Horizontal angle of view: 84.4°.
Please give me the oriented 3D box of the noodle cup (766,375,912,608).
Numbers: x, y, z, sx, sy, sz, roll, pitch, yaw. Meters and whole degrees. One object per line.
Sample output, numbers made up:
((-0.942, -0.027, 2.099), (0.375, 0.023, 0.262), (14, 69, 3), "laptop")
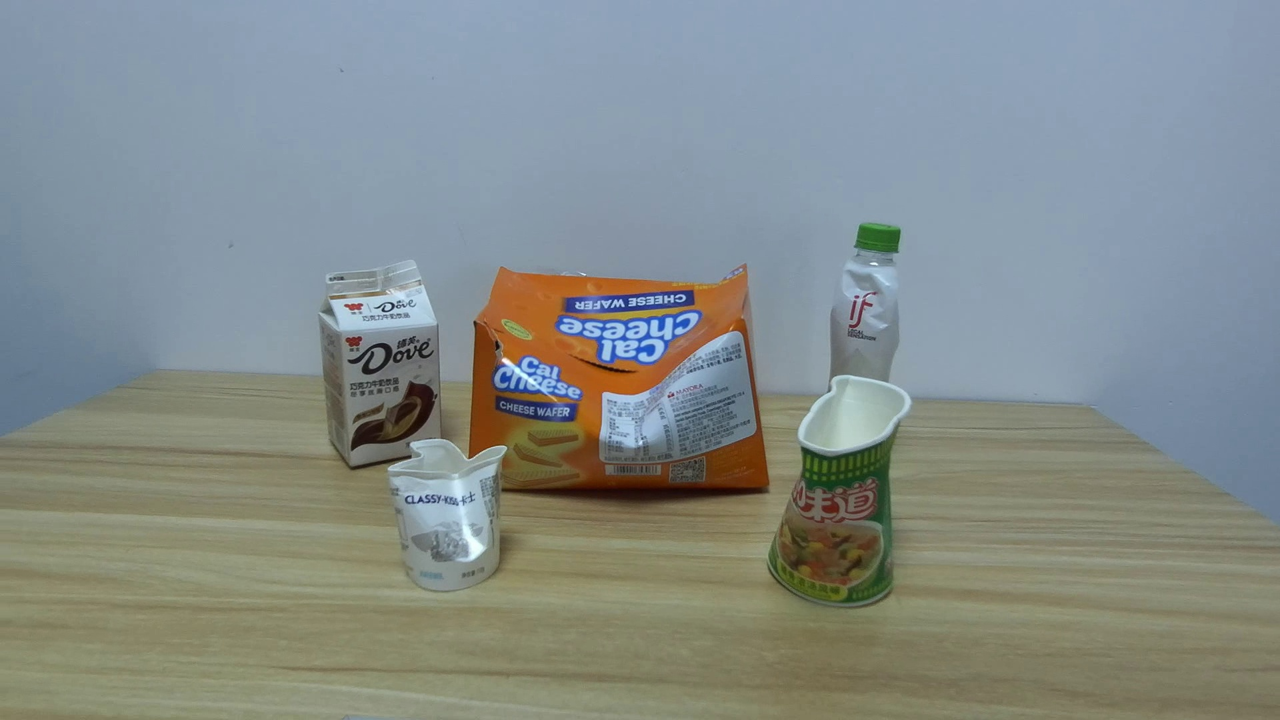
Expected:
((0.111, 0.074, 0.398), (0.115, 0.111, 0.070), (-15, 24, -43), "noodle cup")

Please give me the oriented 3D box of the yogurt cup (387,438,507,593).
((-0.108, 0.086, 0.405), (0.055, 0.072, 0.055), (4, 17, 9), "yogurt cup")

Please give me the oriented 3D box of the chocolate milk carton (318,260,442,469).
((-0.204, -0.001, 0.556), (0.076, 0.148, 0.073), (-8, 18, -34), "chocolate milk carton")

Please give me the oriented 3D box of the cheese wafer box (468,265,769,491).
((-0.013, 0.010, 0.544), (0.219, 0.145, 0.191), (1, 17, -1), "cheese wafer box")

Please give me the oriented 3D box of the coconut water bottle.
((0.173, -0.008, 0.544), (0.067, 0.187, 0.067), (4, 13, -1), "coconut water bottle")
